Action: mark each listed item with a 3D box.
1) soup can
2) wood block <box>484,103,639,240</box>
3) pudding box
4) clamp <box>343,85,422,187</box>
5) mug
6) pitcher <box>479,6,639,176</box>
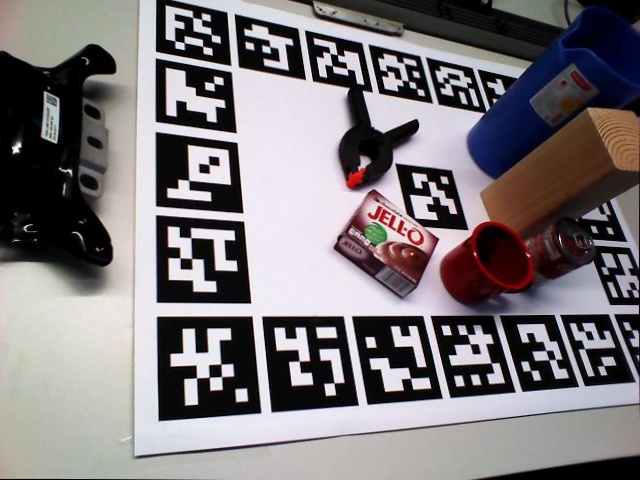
[{"bbox_3d":[0.312,0.025,0.695,0.068,0.103,0.067,9,64,-20],"label":"soup can"},{"bbox_3d":[0.336,-0.077,0.695,0.089,0.208,0.090,2,64,-27],"label":"wood block"},{"bbox_3d":[0.079,0.001,0.647,0.114,0.039,0.089,36,59,-2],"label":"pudding box"},{"bbox_3d":[0.077,-0.140,0.725,0.122,0.037,0.164,33,56,-14],"label":"clamp"},{"bbox_3d":[0.224,0.042,0.661,0.117,0.082,0.092,35,53,-3],"label":"mug"},{"bbox_3d":[0.350,-0.192,0.742,0.188,0.244,0.132,2,62,-20],"label":"pitcher"}]
